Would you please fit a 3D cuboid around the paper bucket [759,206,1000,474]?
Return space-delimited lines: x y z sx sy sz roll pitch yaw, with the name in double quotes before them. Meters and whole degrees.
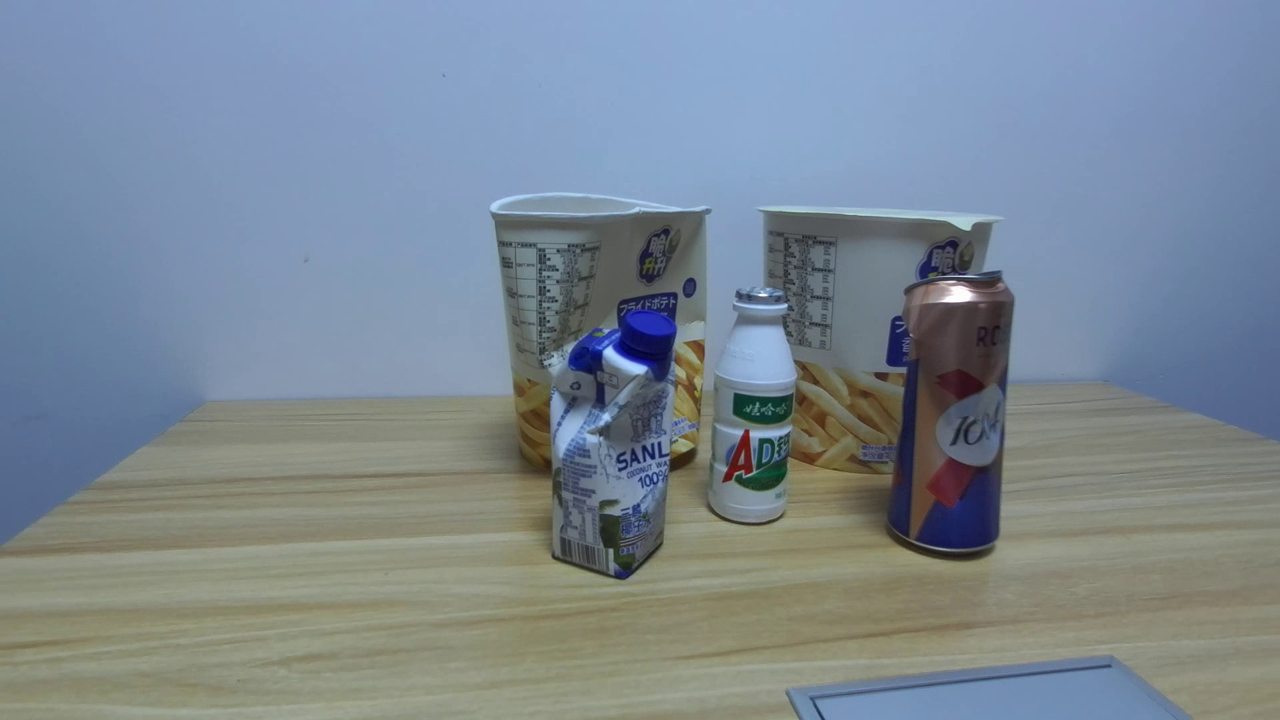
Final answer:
"paper bucket" 0.183 -0.023 0.582 0.198 0.194 0.198 1 14 0

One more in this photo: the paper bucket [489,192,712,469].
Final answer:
"paper bucket" -0.020 -0.027 0.557 0.147 0.199 0.218 3 15 4

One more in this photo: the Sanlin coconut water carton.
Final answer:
"Sanlin coconut water carton" -0.016 0.043 0.393 0.069 0.143 0.061 11 18 26

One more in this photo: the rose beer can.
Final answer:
"rose beer can" 0.188 0.032 0.426 0.070 0.168 0.069 1 12 5

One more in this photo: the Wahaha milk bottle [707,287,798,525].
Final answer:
"Wahaha milk bottle" 0.073 0.029 0.451 0.053 0.147 0.053 2 14 0
